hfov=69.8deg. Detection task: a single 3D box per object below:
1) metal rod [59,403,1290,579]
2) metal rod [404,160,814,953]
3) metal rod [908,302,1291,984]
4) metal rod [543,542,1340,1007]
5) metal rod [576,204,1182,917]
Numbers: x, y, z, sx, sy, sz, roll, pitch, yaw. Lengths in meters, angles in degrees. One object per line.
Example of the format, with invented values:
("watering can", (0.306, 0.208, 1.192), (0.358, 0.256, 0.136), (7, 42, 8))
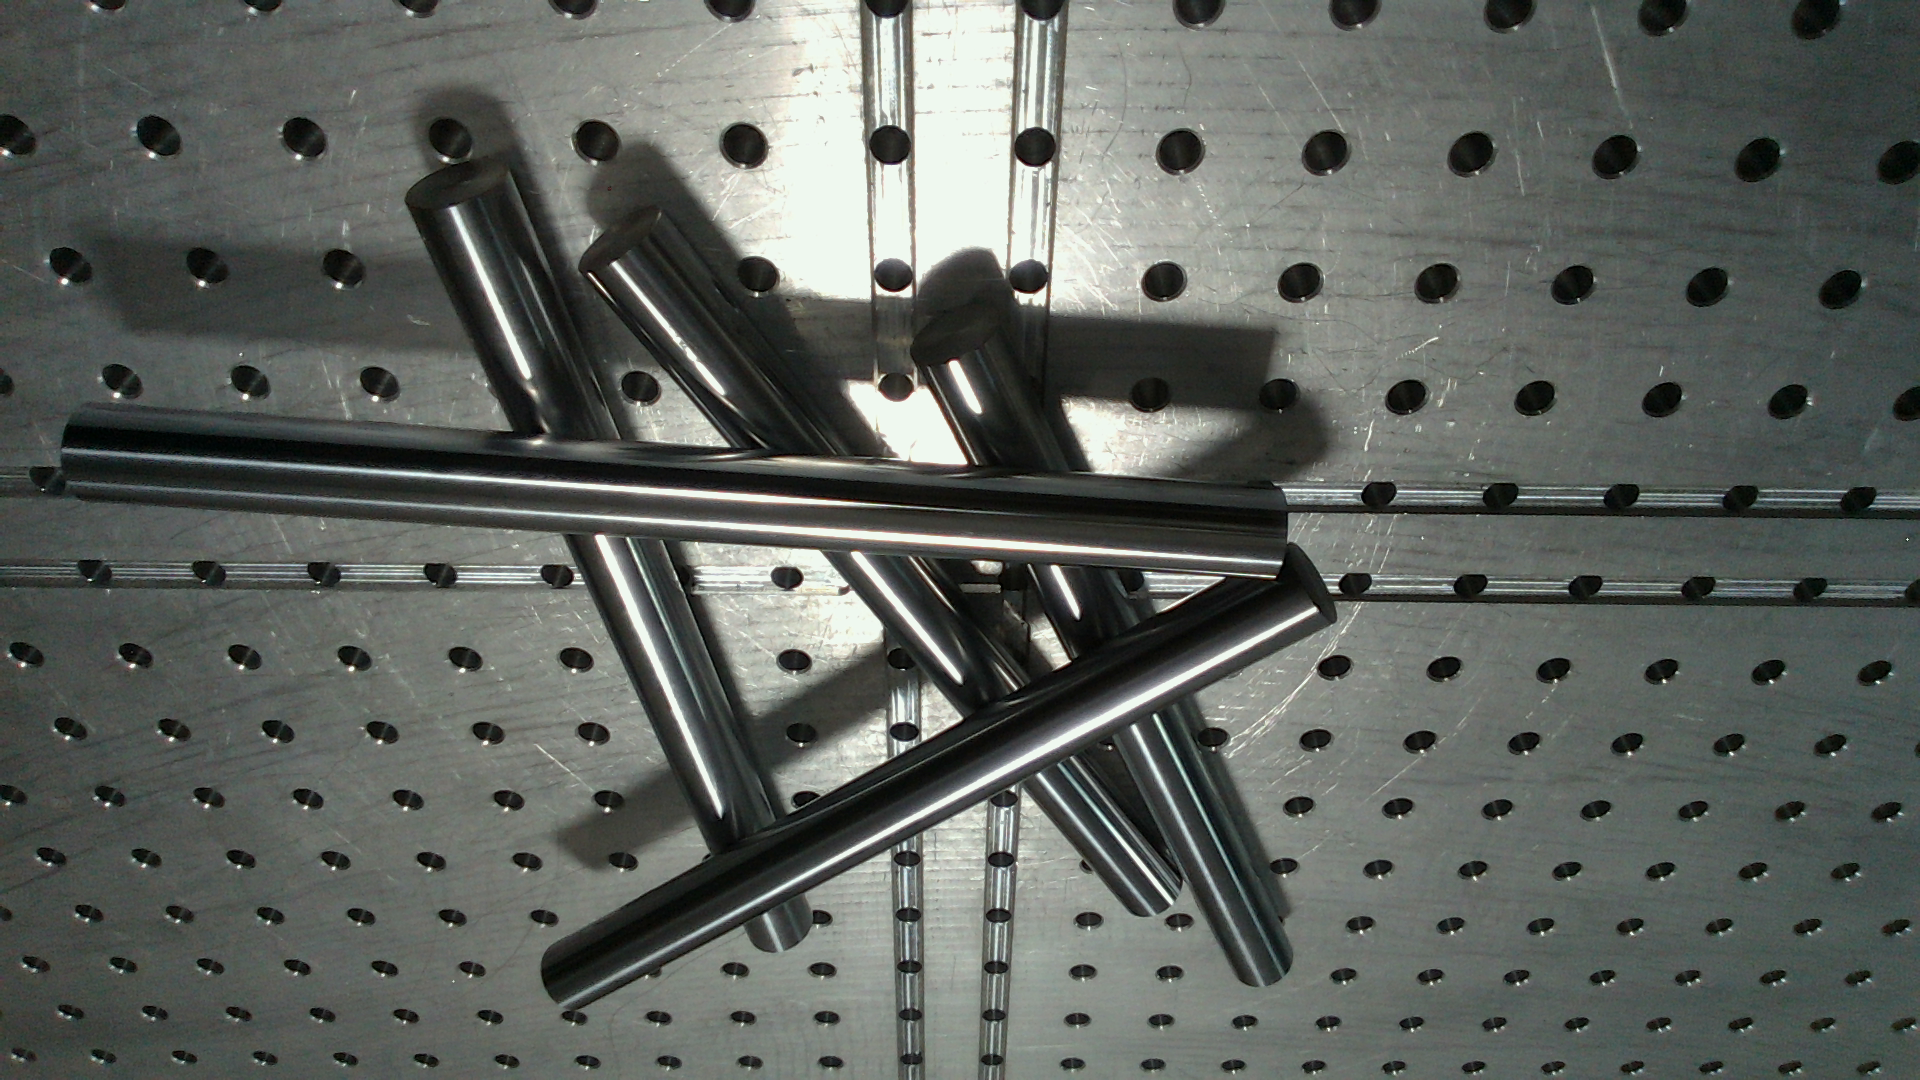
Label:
("metal rod", (-0.067, -0.012, 0.351), (0.300, 0.025, 0.025), (4, 130, -3))
("metal rod", (-0.092, 0.030, 0.418), (0.025, 0.025, 0.300), (-8, 130, 6))
("metal rod", (0.056, 0.053, 0.438), (0.025, 0.025, 0.301), (-18, 128, 14))
("metal rod", (-0.021, 0.083, 0.430), (0.299, 0.025, 0.025), (-31, 123, 24))
("metal rod", (-0.007, 0.026, 0.415), (0.025, 0.025, 0.301), (-24, 126, 19))
